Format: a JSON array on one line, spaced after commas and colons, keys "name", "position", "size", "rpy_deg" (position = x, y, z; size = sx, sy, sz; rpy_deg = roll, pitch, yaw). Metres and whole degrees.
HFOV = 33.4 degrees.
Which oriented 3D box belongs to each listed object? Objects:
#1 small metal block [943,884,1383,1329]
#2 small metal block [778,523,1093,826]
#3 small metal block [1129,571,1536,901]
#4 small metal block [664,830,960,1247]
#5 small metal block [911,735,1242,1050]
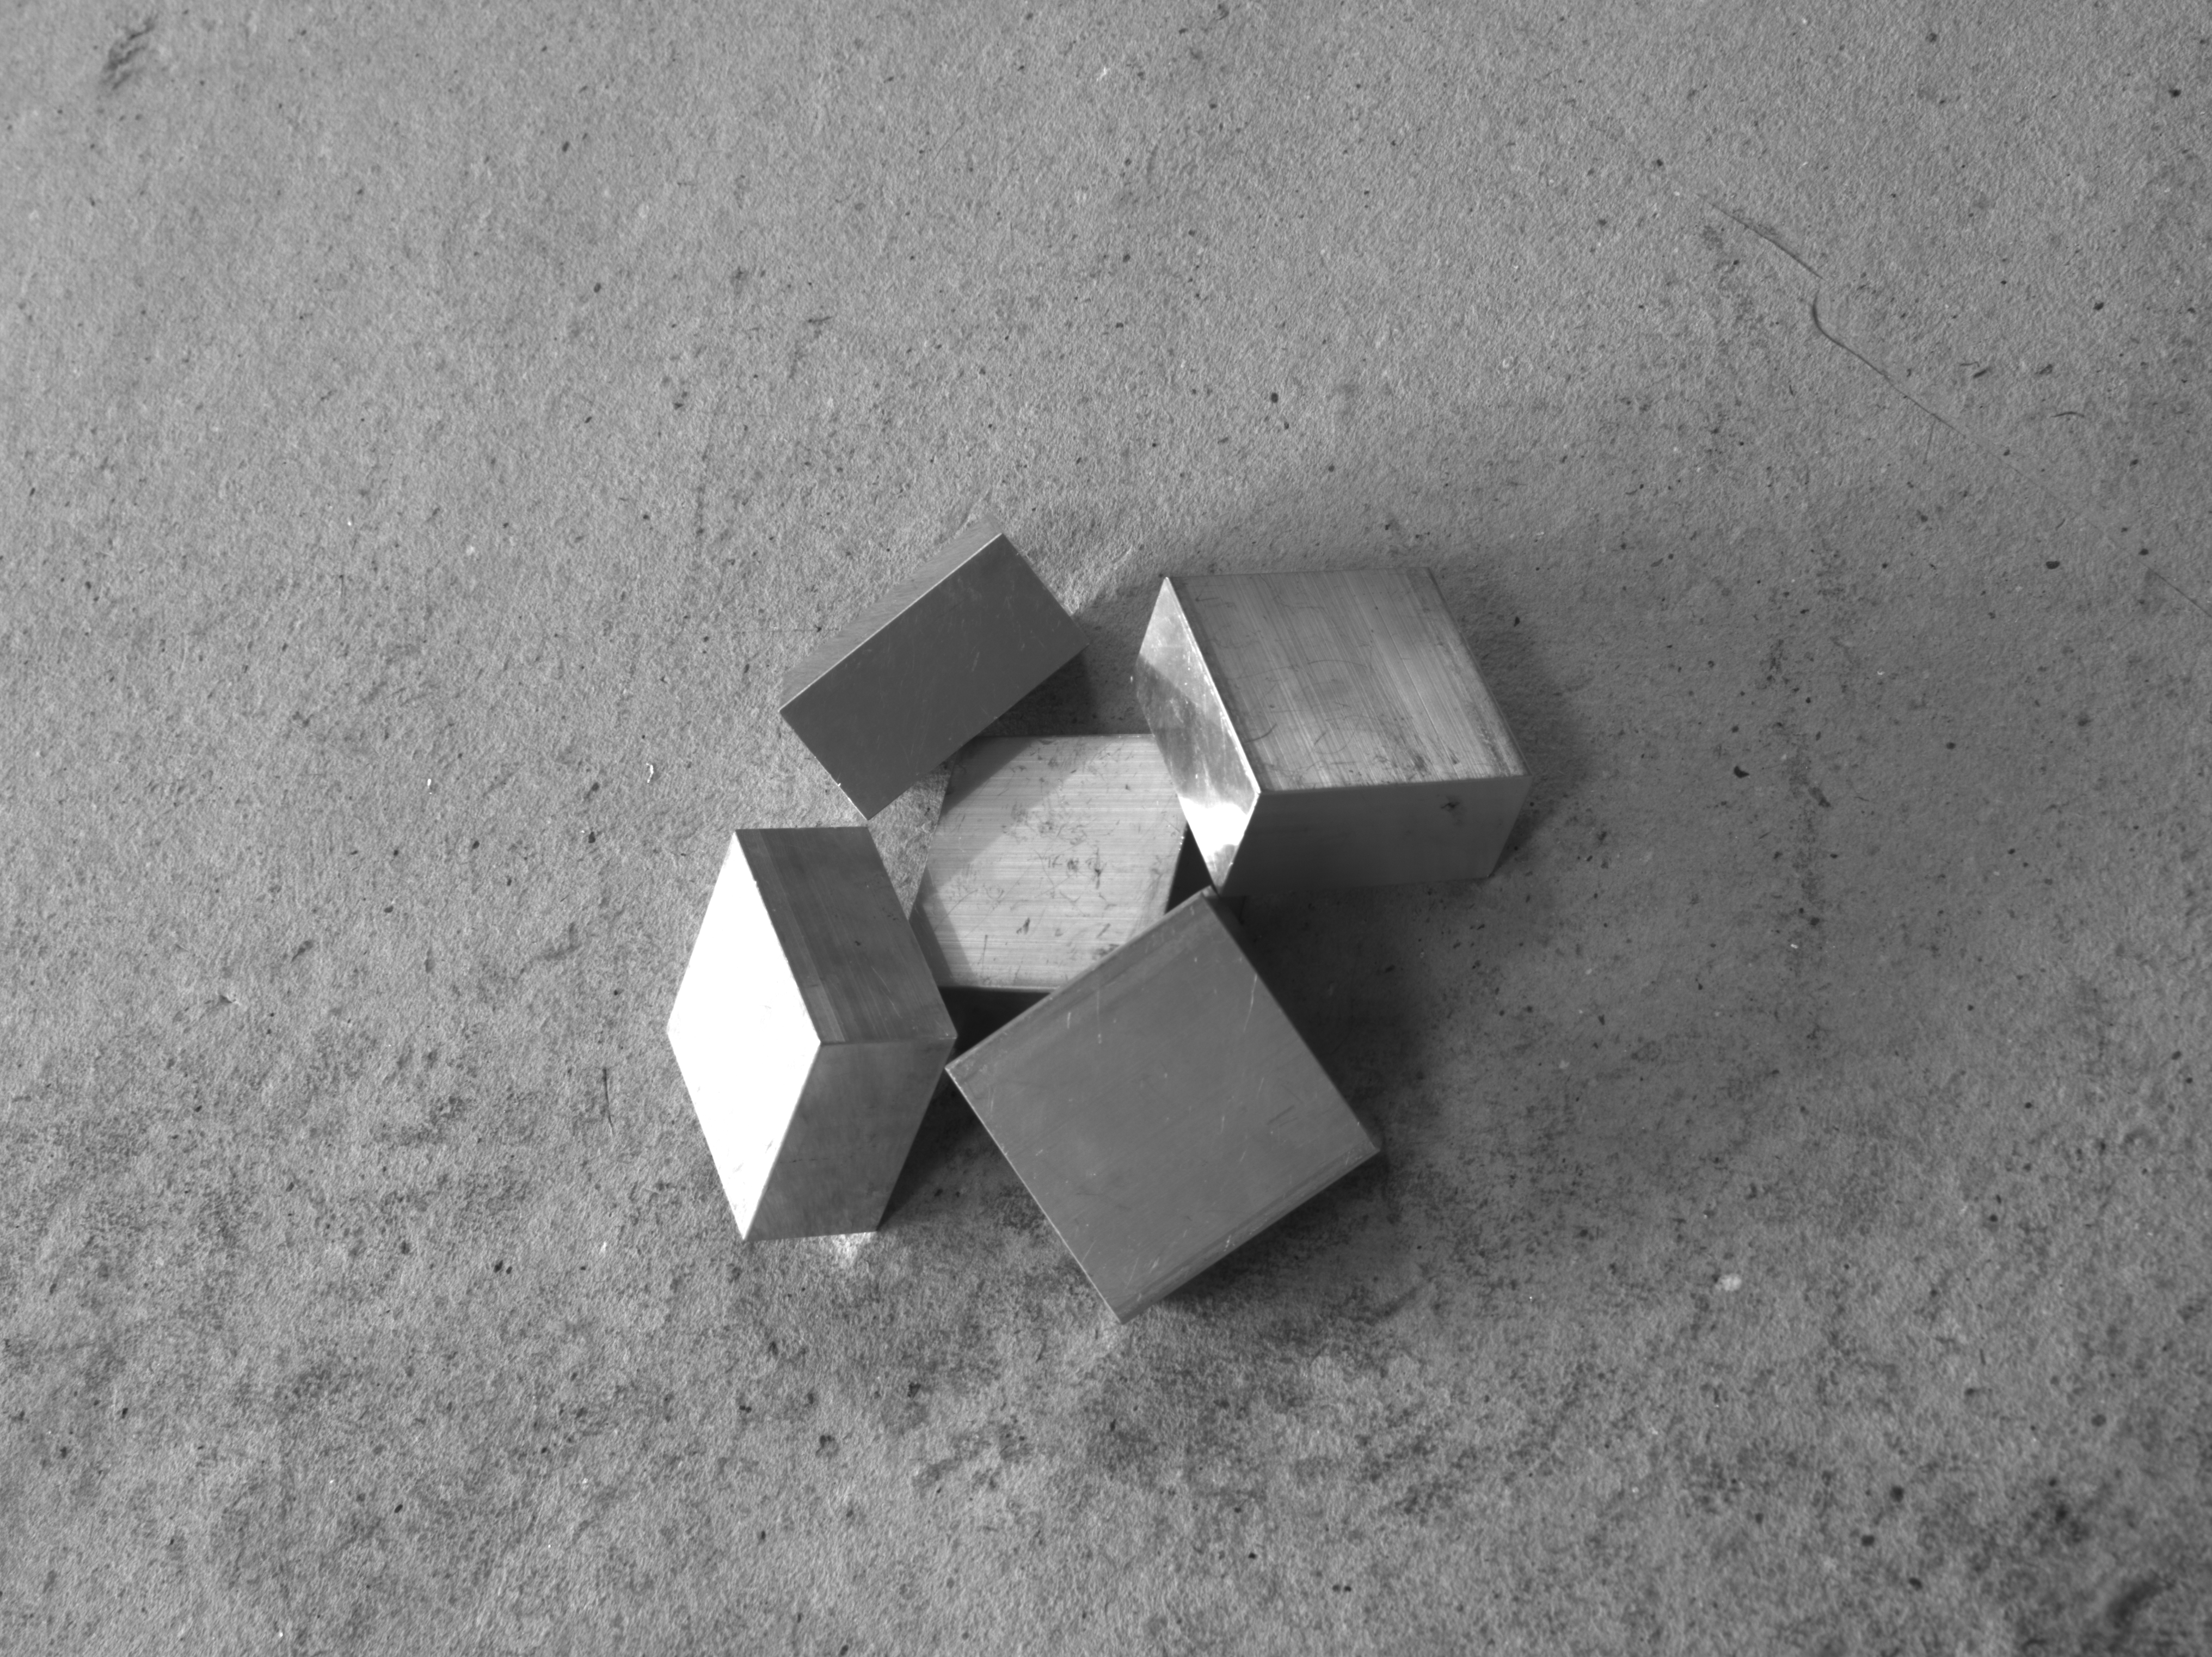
[{"name": "small metal block", "position": [0.010, 0.044, 0.597], "size": [0.050, 0.025, 0.050], "rpy_deg": [-35, 89, 5]}, {"name": "small metal block", "position": [-0.031, -0.029, 0.665], "size": [0.050, 0.025, 0.050], "rpy_deg": [-38, 9, 2]}, {"name": "small metal block", "position": [0.037, -0.016, 0.620], "size": [0.050, 0.025, 0.050], "rpy_deg": [-3, 49, -22]}, {"name": "small metal block", "position": [-0.052, 0.036, 0.635], "size": [0.050, 0.025, 0.050], "rpy_deg": [64, 143, 39]}, {"name": "small metal block", "position": [-0.004, 0.012, 0.641], "size": [0.050, 0.025, 0.050], "rpy_deg": [0, 62, 27]}]
